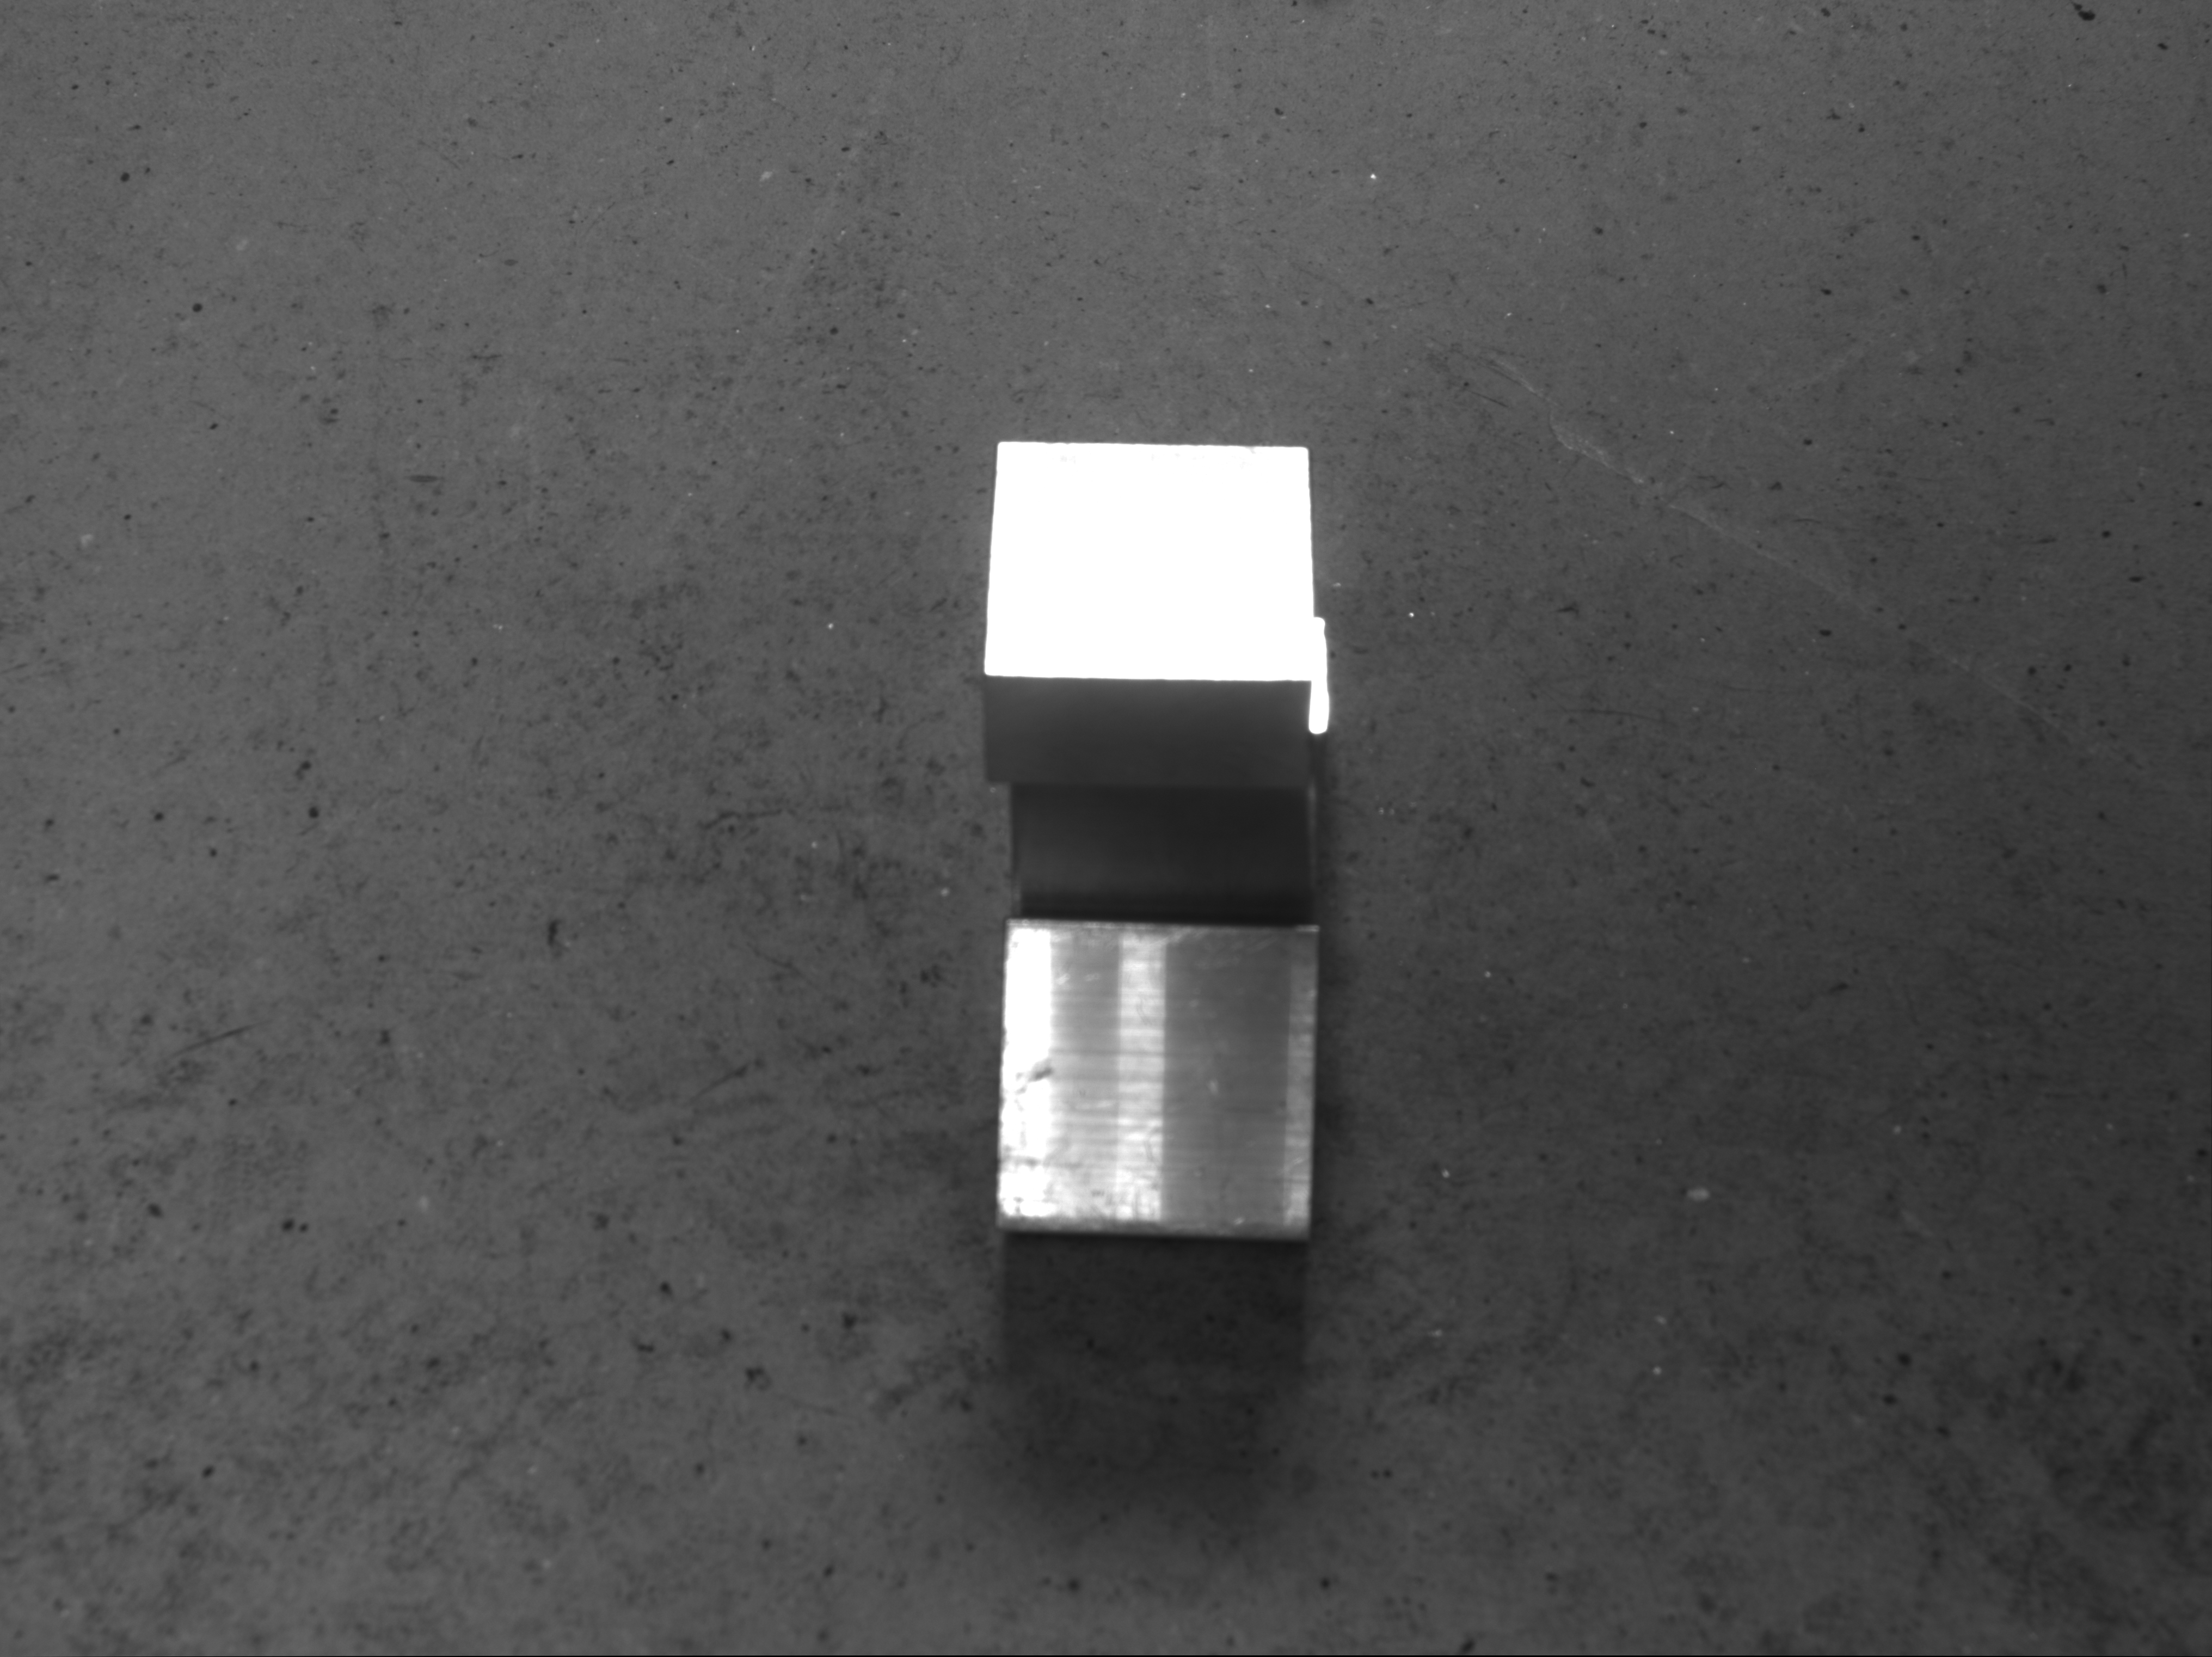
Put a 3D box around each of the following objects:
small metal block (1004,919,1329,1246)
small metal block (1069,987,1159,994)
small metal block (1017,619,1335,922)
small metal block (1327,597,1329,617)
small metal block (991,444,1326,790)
[{"bbox_3d":[0.010,0.040,0.592,0.050,0.025,0.050,2,90,2],"label":"small metal block"},{"bbox_3d":[0.011,0.016,0.630,0.050,0.025,0.050,2,50,2],"label":"small metal block"},{"bbox_3d":[0.011,-0.009,0.600,0.050,0.050,0.025,2,50,2],"label":"small metal block"},{"bbox_3d":[0.014,-0.028,0.650,0.050,0.025,0.050,2,14,2],"label":"small metal block"},{"bbox_3d":[0.008,-0.033,0.572,0.050,0.025,0.050,1,50,1],"label":"small metal block"}]
